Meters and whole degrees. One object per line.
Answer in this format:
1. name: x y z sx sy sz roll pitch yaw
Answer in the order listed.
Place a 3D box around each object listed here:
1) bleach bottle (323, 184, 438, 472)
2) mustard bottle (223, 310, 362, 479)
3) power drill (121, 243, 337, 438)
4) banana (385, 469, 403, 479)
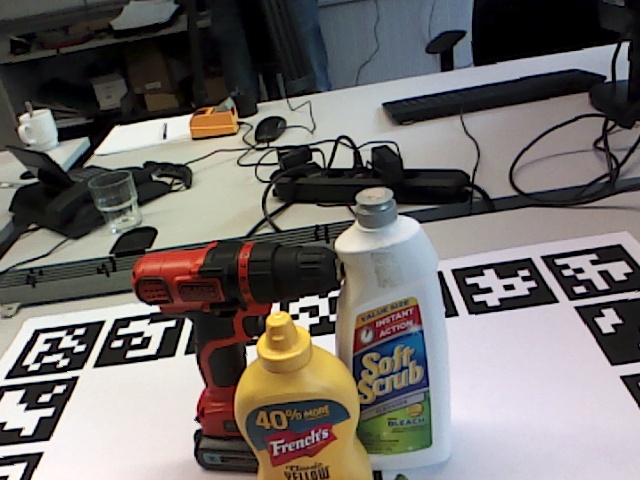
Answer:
1. bleach bottle: 0.041 0.076 0.517 0.103 0.250 0.068 -7 24 7
2. mustard bottle: -0.024 0.136 0.484 0.096 0.191 0.058 -7 29 4
3. power drill: -0.068 0.089 0.539 0.185 0.186 0.057 -1 29 14
4. banana: -0.030 0.226 0.501 0.198 0.038 0.074 -8 31 10
